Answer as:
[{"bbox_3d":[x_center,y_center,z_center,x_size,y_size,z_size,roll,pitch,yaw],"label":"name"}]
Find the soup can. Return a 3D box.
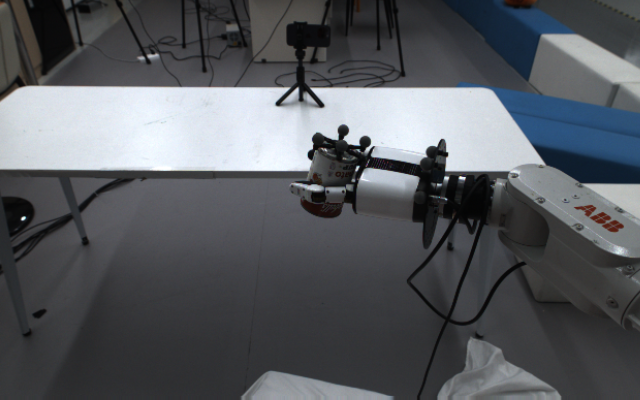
[{"bbox_3d":[0.015,-0.033,0.735,0.067,0.101,0.067,13,30,-8],"label":"soup can"}]
